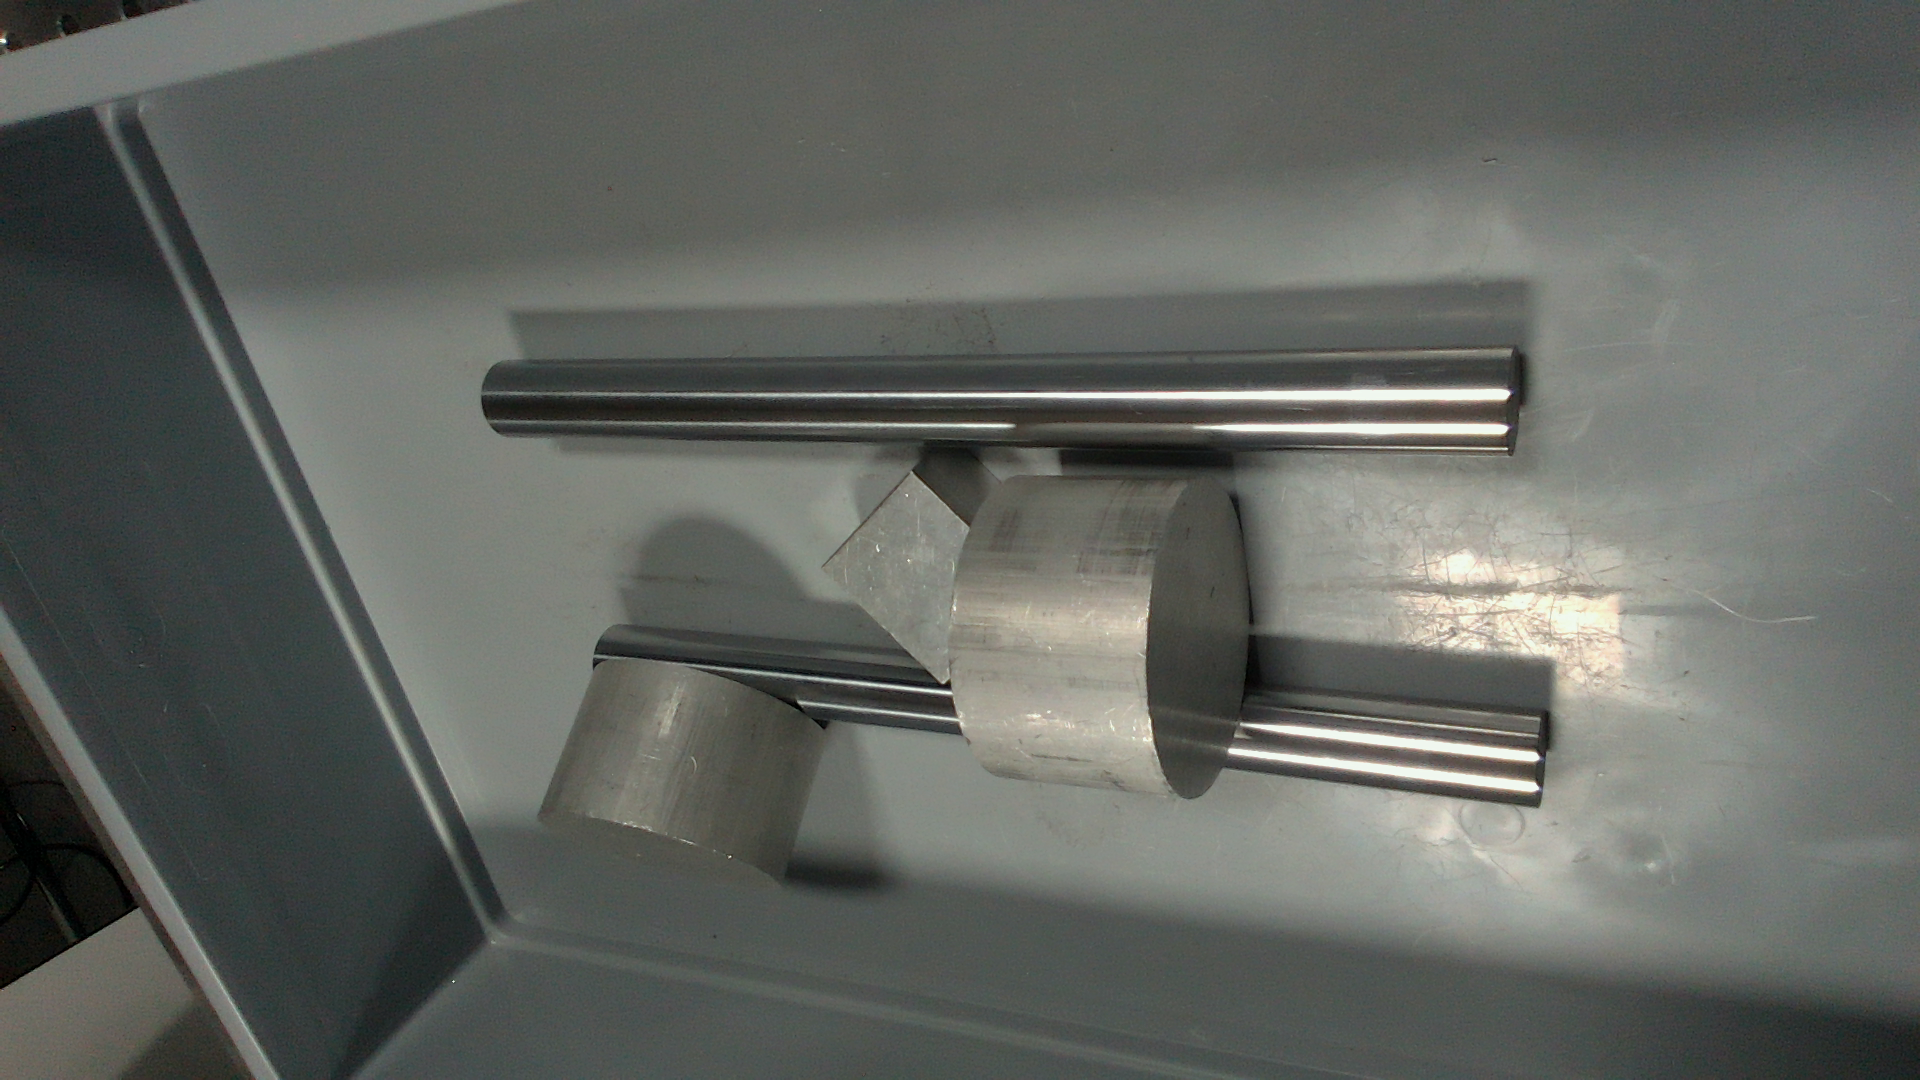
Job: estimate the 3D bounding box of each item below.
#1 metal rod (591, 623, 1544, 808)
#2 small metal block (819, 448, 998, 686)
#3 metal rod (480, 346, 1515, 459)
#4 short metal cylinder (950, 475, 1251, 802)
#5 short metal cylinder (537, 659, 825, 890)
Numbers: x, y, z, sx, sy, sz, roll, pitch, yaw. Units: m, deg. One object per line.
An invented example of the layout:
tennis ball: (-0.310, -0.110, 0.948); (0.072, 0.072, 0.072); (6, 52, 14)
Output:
metal rod: (0.013, 0.048, 0.414); (0.299, 0.025, 0.025); (3, 120, 27)
small metal block: (-0.004, 0.006, 0.397); (0.050, 0.025, 0.050); (44, 129, -2)
metal rod: (-0.011, -0.038, 0.373); (0.299, 0.025, 0.025); (3, 120, 27)
short metal cylinder: (0.038, 0.023, 0.350); (0.050, 0.080, 0.080); (2, 119, 28)
short metal cylinder: (-0.090, 0.078, 0.449); (0.080, 0.050, 0.080); (13, 157, 6)
